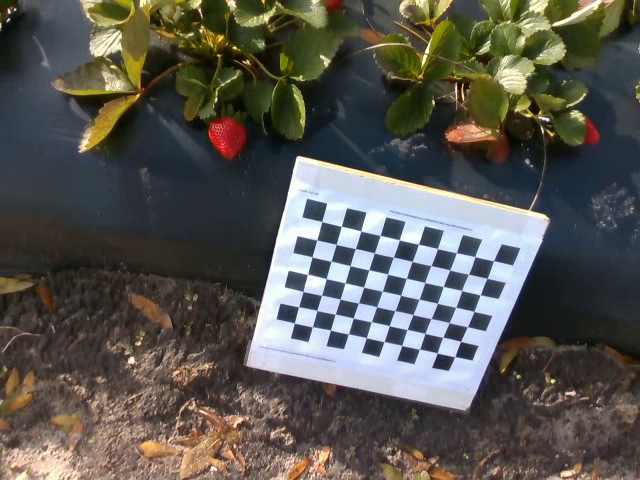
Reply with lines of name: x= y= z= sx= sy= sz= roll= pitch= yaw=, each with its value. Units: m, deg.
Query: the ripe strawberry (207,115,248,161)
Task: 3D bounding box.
ripe strawberry: x=-0.081 y=-0.088 z=0.641 sx=0.041 sy=0.047 sz=0.041 roll=-11 pitch=-32 yaw=15
